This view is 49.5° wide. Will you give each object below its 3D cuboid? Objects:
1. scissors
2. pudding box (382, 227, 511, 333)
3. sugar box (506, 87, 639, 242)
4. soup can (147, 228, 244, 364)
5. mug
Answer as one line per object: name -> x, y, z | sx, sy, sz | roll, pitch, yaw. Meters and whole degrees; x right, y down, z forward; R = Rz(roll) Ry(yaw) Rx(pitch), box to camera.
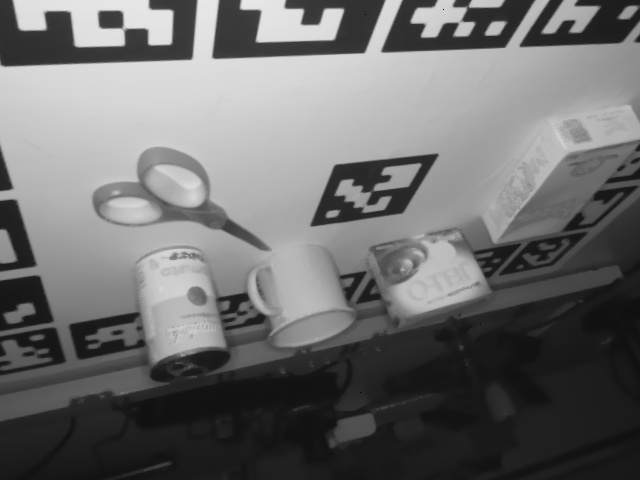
scissors -> -0.083, -0.036, 0.568 | 0.087, 0.016, 0.204 | -39, 144, 12
pudding box -> 0.132, 0.042, 0.733 | 0.115, 0.090, 0.038 | -13, 141, -11
sugar box -> 0.260, -0.071, 0.690 | 0.094, 0.045, 0.174 | -11, 146, -17
soup can -> -0.113, 0.049, 0.617 | 0.068, 0.102, 0.067 | -15, 149, -8
mug -> -0.011, 0.055, 0.688 | 0.093, 0.081, 0.118 | -29, 148, 11
